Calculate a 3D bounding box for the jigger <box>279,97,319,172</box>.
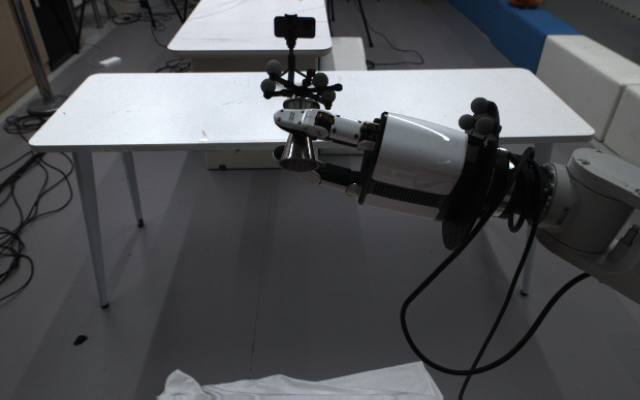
[{"bbox_3d":[-0.022,-0.069,0.512,0.043,0.043,0.071,3,76,1],"label":"jigger"}]
